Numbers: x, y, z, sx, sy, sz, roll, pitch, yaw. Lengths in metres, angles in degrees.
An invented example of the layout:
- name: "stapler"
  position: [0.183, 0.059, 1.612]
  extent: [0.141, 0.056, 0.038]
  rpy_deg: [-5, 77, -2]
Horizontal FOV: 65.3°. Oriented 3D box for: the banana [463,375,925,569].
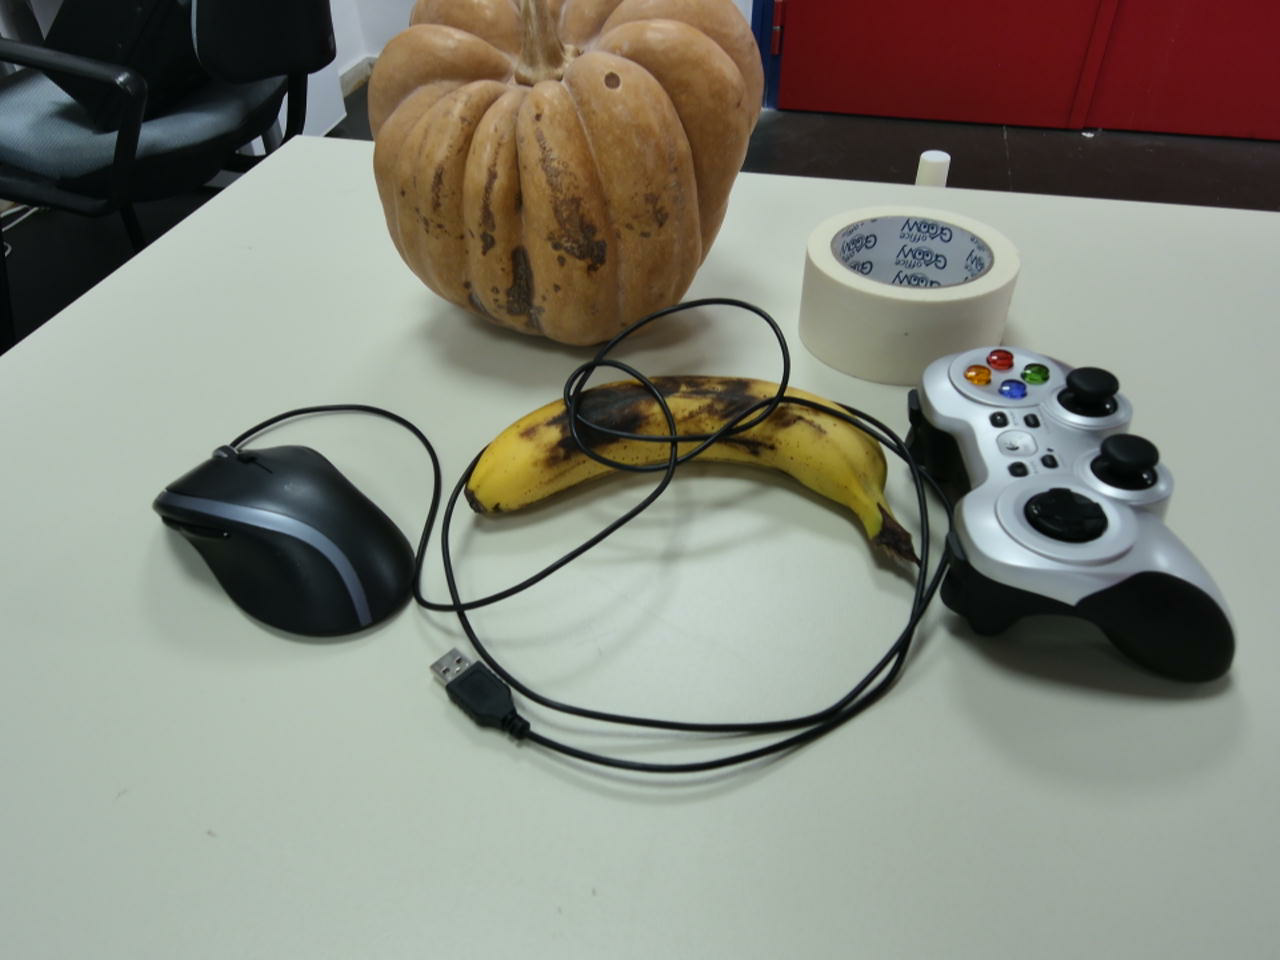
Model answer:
- name: "banana"
  position: [0.025, -0.011, 0.431]
  extent: [0.187, 0.039, 0.094]
  rpy_deg: [7, 39, 9]
